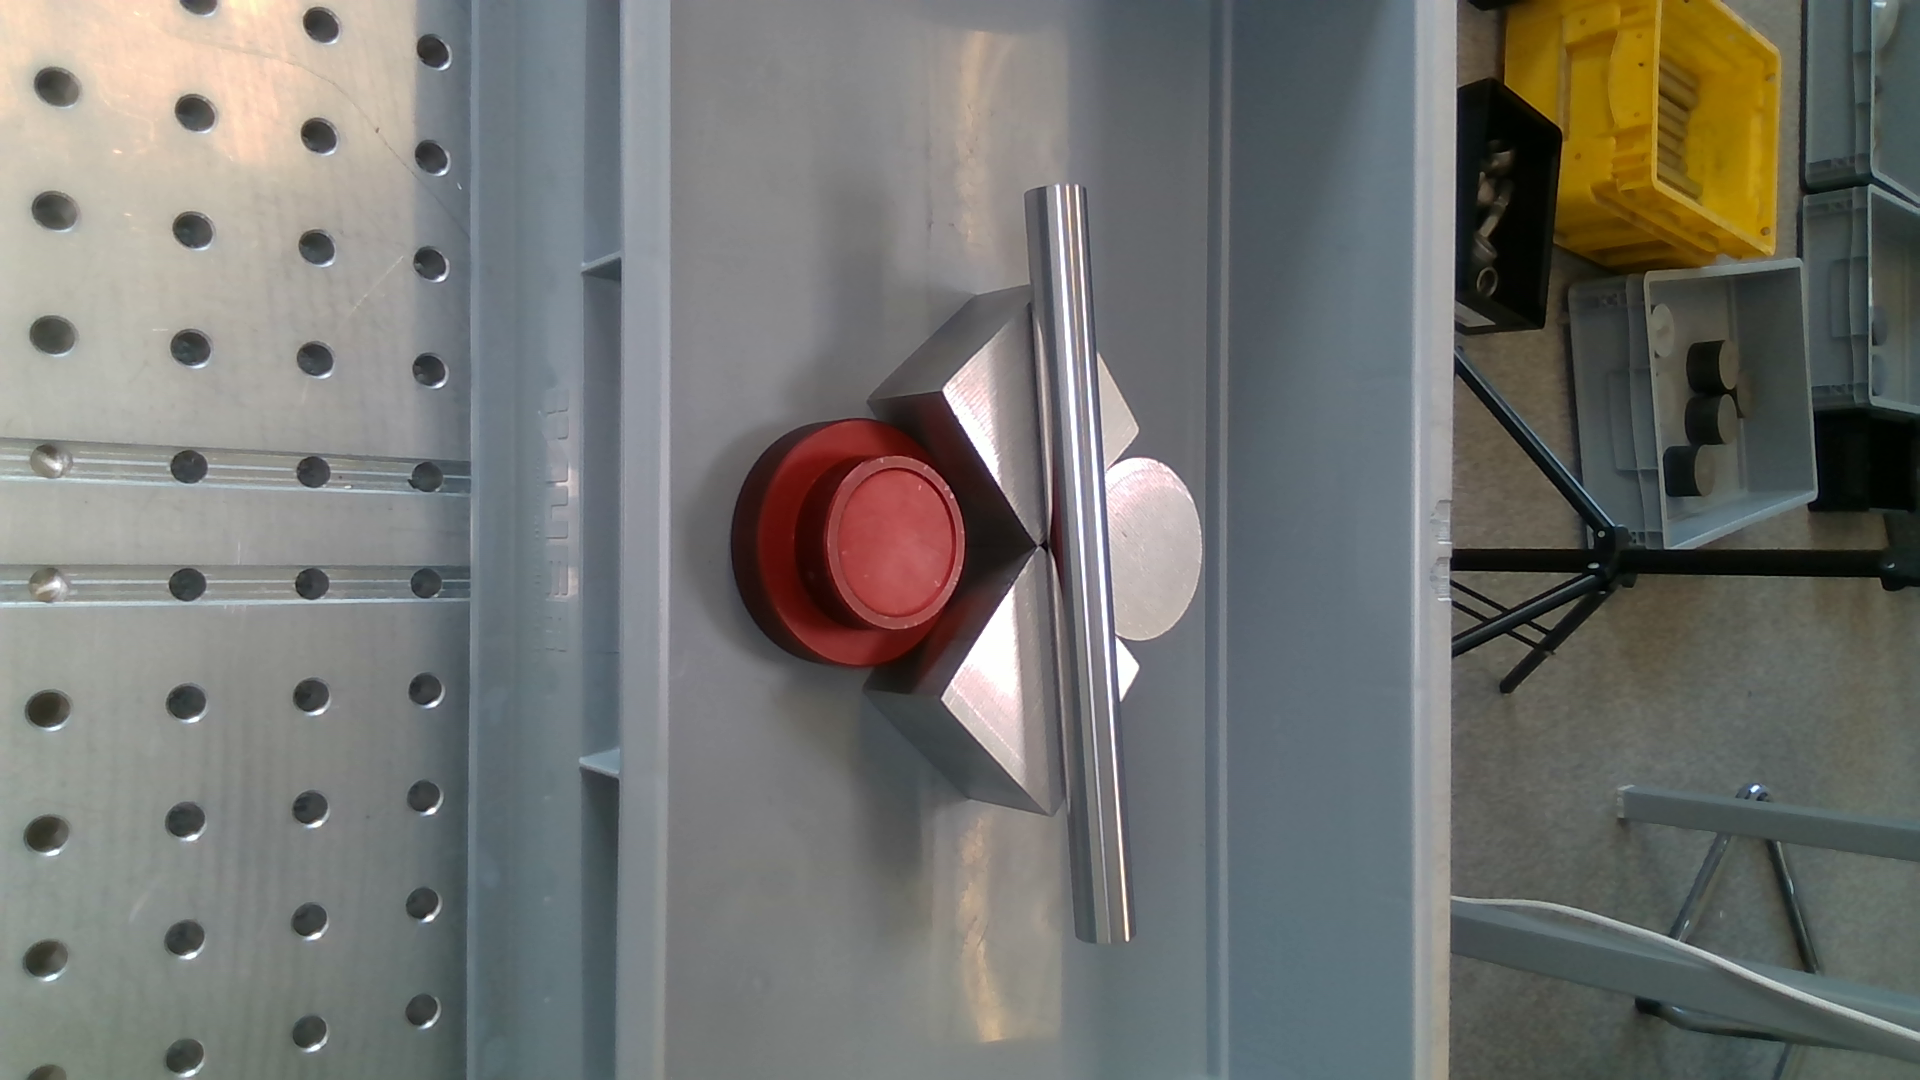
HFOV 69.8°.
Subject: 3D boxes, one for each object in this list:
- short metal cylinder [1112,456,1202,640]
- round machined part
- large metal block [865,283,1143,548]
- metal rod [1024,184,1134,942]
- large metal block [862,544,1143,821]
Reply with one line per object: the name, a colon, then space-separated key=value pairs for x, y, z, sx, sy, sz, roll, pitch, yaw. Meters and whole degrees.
short metal cylinder: x=0.063 y=0.004 z=0.619 sx=0.080 sy=0.050 sz=0.080 roll=0 pitch=90 yaw=-40
round machined part: x=-0.037 y=0.001 z=0.539 sx=0.098 sy=0.042 sz=0.098 roll=0 pitch=90 yaw=-40
large metal block: x=0.020 y=-0.054 z=0.582 sx=0.080 sy=0.050 sz=0.080 roll=-46 pitch=118 yaw=-28
metal rod: x=0.049 y=0.011 z=0.555 sx=0.025 sy=0.025 sz=0.300 roll=-6 pitch=94 yaw=-40
large metal block: x=0.020 y=0.059 z=0.579 sx=0.080 sy=0.050 sz=0.080 roll=49 pitch=61 yaw=-28
